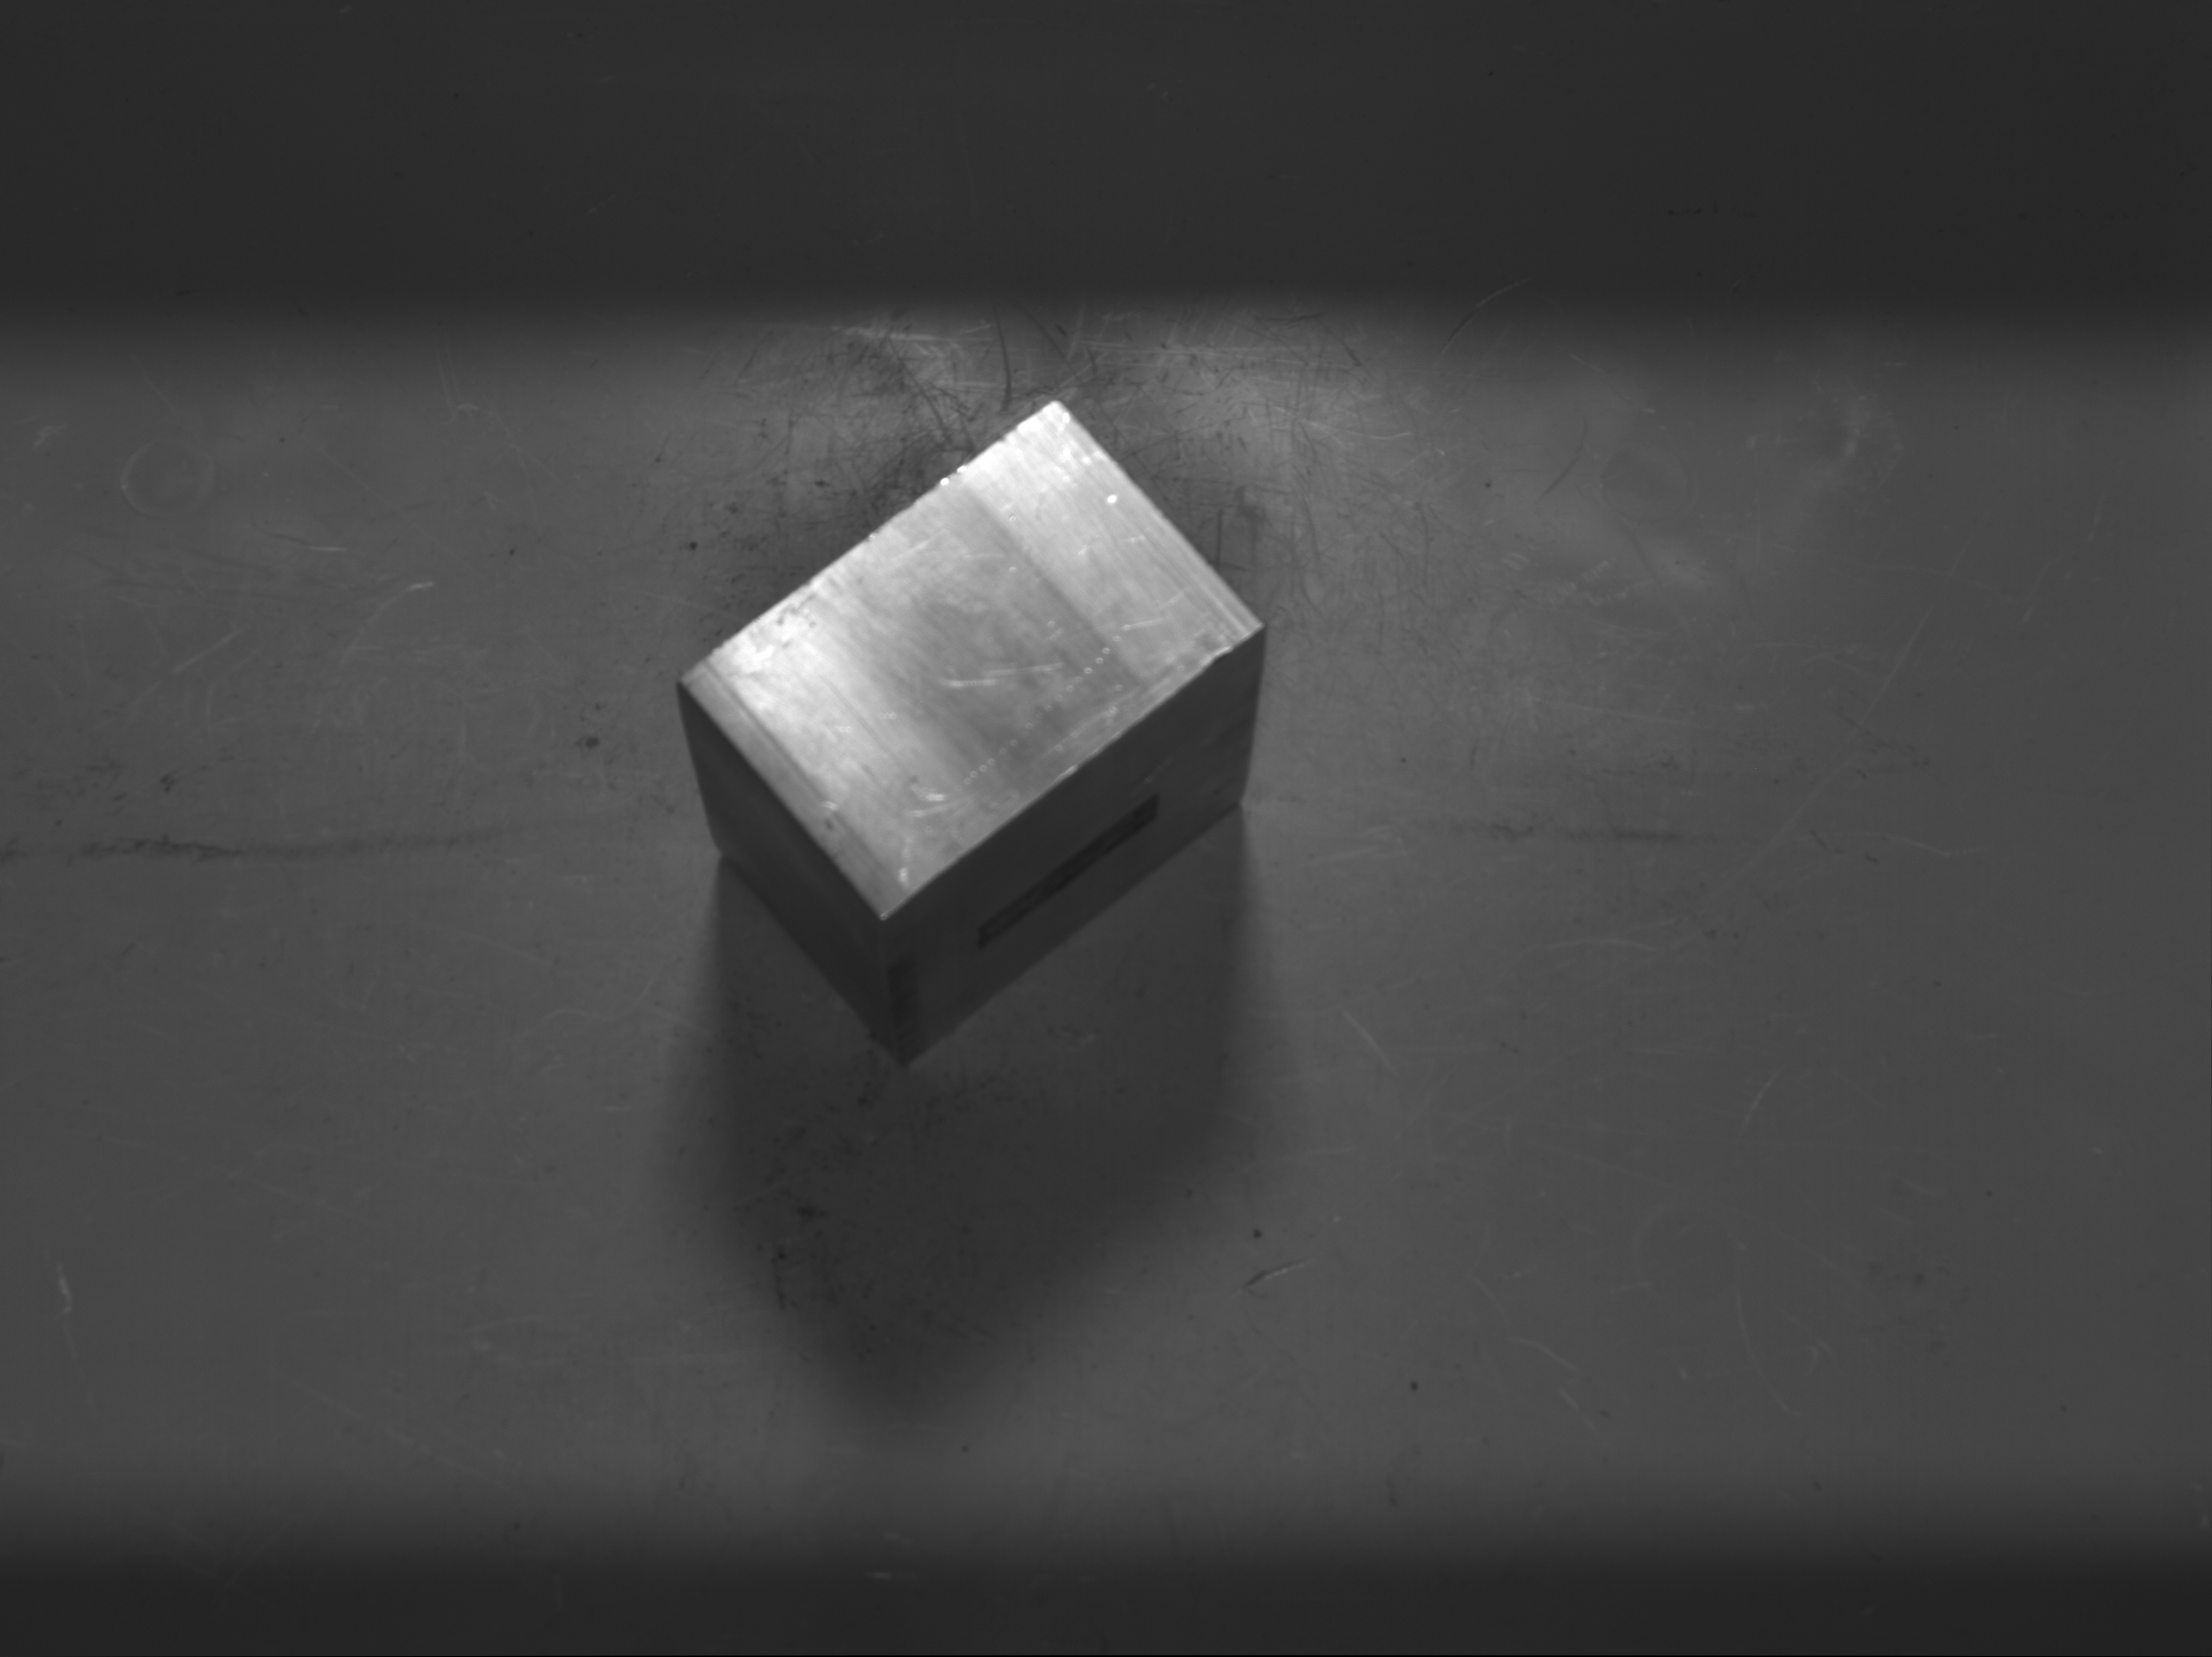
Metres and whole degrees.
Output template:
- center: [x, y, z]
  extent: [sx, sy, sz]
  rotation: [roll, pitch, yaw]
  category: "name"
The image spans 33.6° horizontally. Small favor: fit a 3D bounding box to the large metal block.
- center: [-0.014, -0.015, 0.618]
  extent: [0.080, 0.080, 0.050]
  rotation: [-38, 74, -13]
  category: "large metal block"
